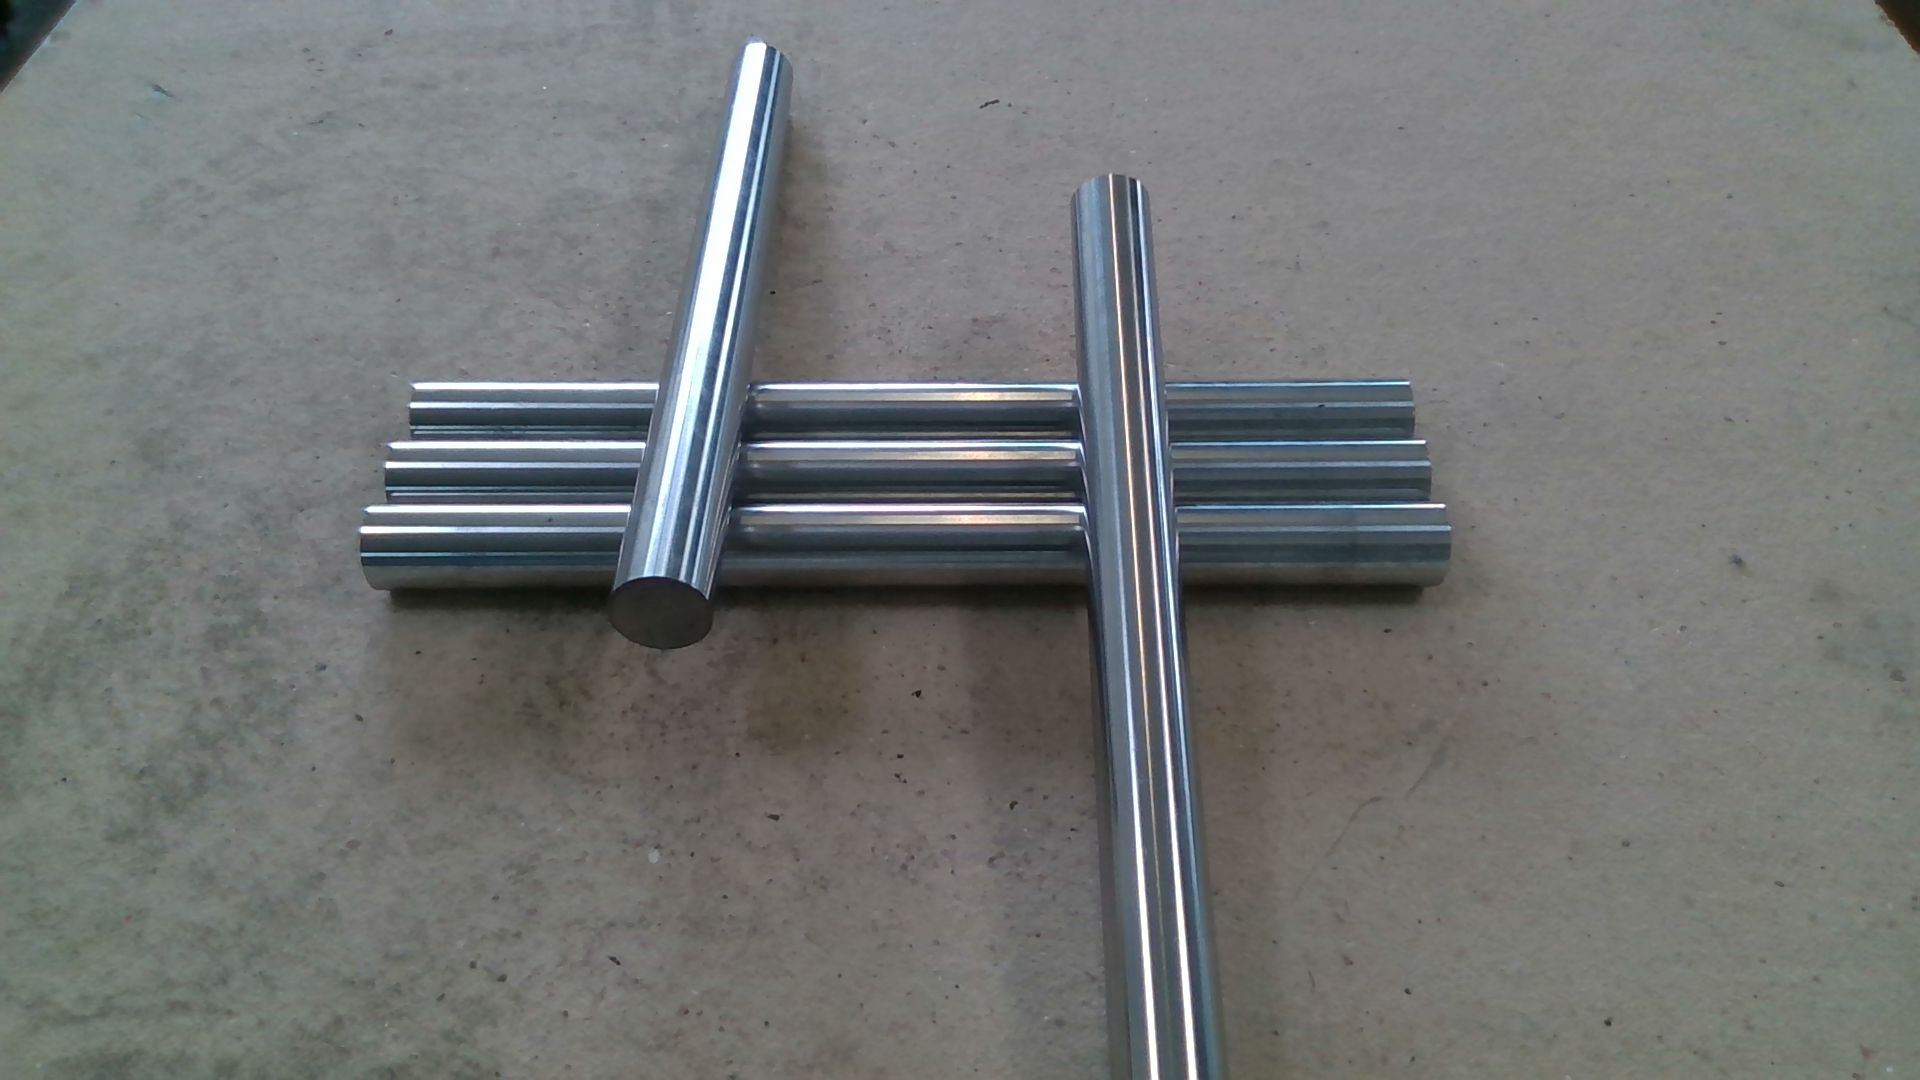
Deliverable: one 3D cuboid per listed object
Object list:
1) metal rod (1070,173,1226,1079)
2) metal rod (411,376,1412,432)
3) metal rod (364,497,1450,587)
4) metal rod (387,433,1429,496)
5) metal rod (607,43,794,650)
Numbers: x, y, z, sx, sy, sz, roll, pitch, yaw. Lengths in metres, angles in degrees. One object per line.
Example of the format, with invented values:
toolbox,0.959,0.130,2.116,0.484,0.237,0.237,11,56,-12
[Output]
metal rod,0.045,0.021,0.351,0.025,0.025,0.299,0,58,0
metal rod,-0.014,-0.038,0.425,0.300,0.025,0.025,0,50,0
metal rod,-0.015,0.000,0.393,0.300,0.025,0.025,0,50,0
metal rod,-0.015,-0.019,0.409,0.300,0.025,0.025,0,50,0
metal rod,-0.075,-0.084,0.439,0.025,0.025,0.299,-1,43,-1
